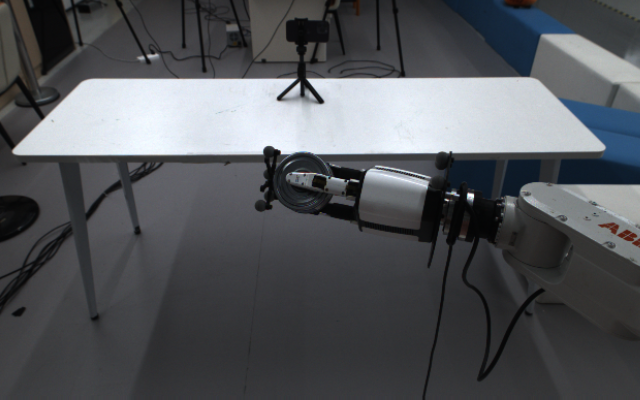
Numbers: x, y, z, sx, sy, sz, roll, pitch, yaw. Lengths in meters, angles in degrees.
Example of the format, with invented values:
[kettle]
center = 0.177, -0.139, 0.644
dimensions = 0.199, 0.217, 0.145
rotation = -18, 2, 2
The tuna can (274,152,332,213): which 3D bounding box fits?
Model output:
[tuna can]
center = -0.021, -0.026, 0.689
dimensions = 0.085, 0.085, 0.034
rotation = 9, -6, 10
